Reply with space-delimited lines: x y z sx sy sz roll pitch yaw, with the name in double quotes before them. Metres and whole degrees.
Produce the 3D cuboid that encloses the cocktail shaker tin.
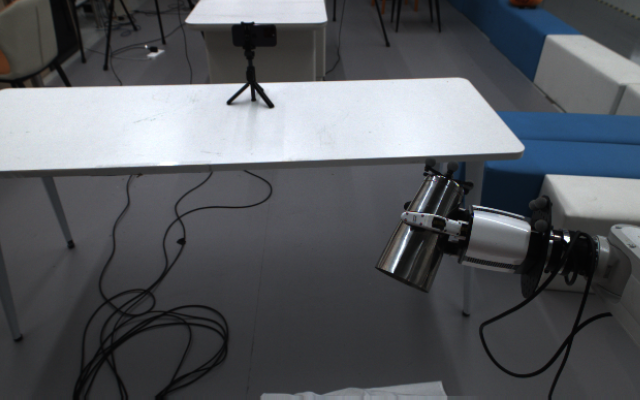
"cocktail shaker tin" 0.165 0.045 0.764 0.093 0.093 0.170 21 81 25
